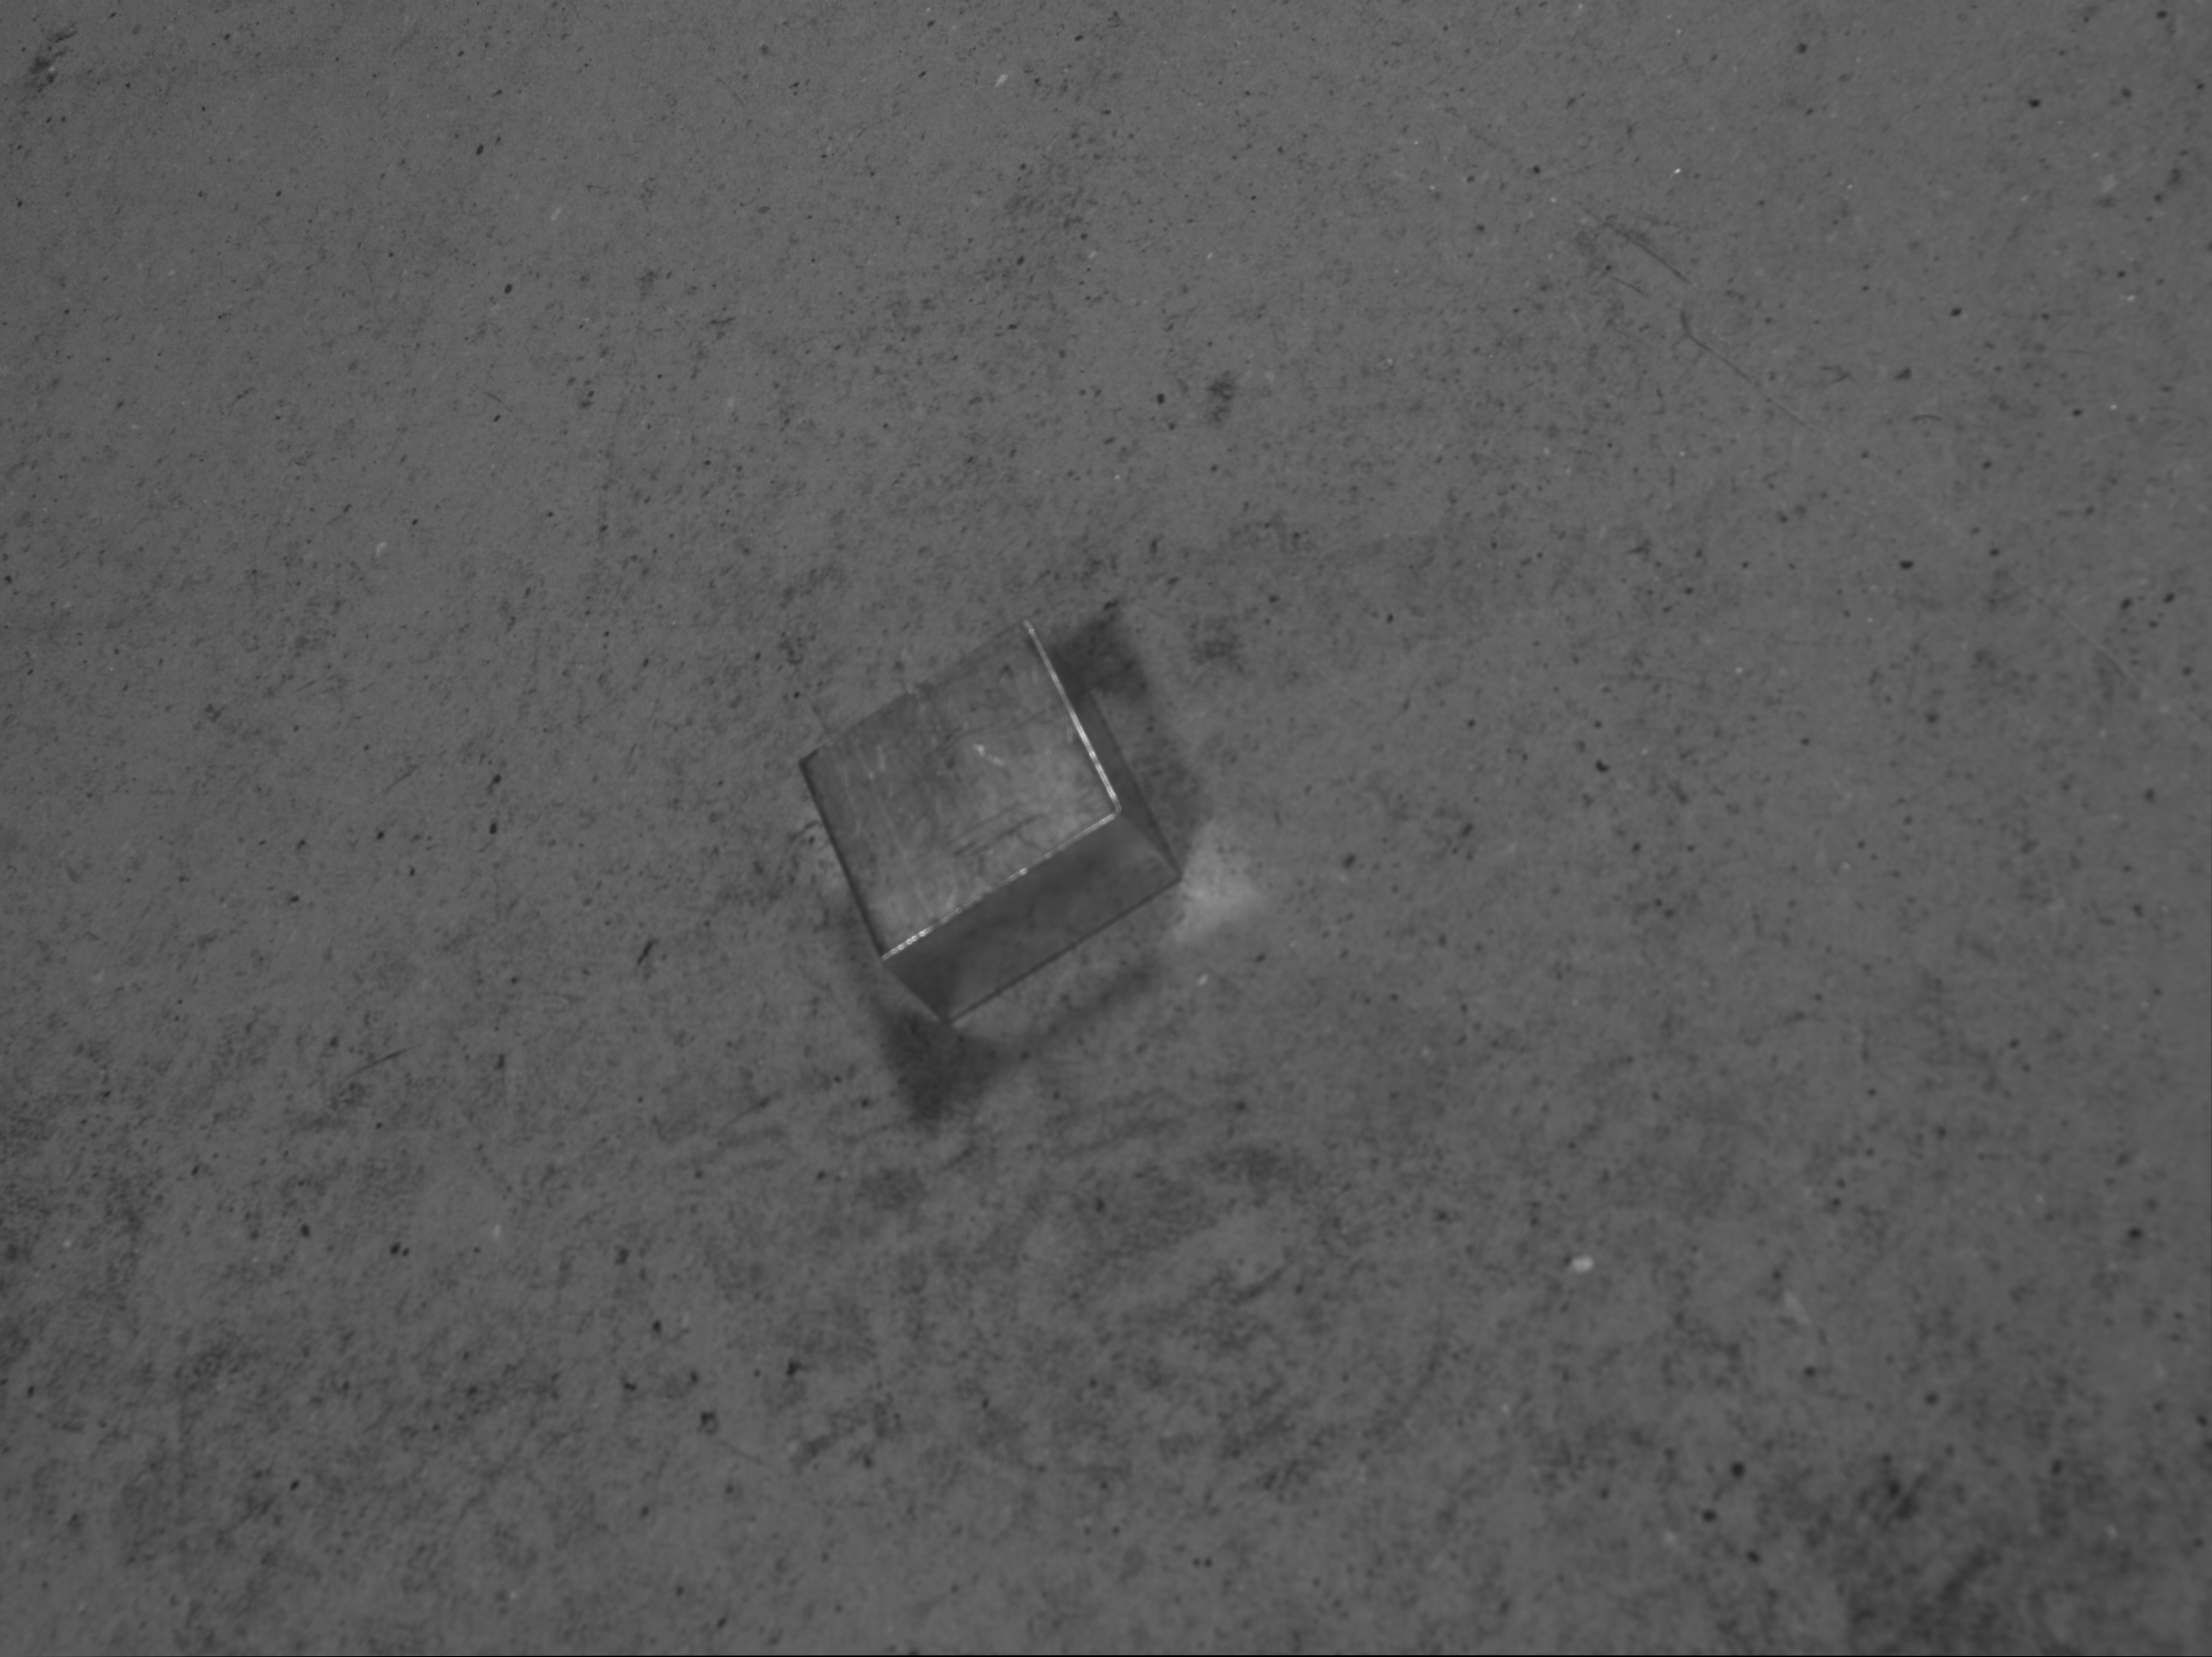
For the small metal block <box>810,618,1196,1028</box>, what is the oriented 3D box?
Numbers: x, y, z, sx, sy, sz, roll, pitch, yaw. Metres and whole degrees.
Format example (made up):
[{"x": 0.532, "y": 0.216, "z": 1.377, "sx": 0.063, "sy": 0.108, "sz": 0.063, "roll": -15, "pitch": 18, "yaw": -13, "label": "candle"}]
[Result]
[{"x": -0.019, "y": -0.001, "z": 0.656, "sx": 0.050, "sy": 0.025, "sz": 0.050, "roll": -32, "pitch": 51, "yaw": 7, "label": "small metal block"}]
